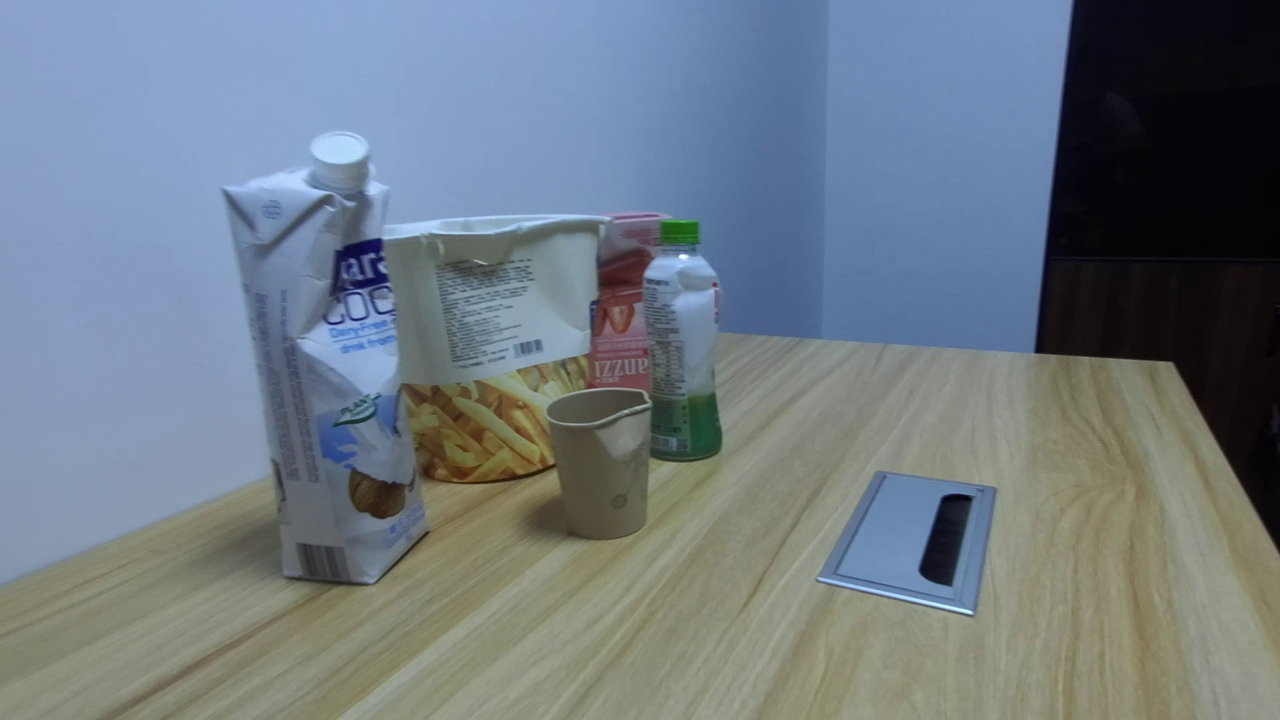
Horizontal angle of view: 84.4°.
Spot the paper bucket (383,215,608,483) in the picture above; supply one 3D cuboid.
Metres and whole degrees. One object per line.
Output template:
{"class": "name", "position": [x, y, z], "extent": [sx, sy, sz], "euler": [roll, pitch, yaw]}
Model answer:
{"class": "paper bucket", "position": [-0.129, -0.017, 0.586], "extent": [0.145, 0.197, 0.203], "euler": [8, 18, 40]}

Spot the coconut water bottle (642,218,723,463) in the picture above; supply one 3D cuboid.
{"class": "coconut water bottle", "position": [0.035, -0.016, 0.566], "extent": [0.069, 0.186, 0.069], "euler": [-1, 11, 0]}

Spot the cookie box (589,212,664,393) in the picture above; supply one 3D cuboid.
{"class": "cookie box", "position": [-0.017, -0.051, 0.713], "extent": [0.105, 0.187, 0.048], "euler": [-5, 14, -8]}

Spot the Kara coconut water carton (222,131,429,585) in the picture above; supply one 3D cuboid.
{"class": "Kara coconut water carton", "position": [-0.181, 0.002, 0.415], "extent": [0.078, 0.255, 0.083], "euler": [6, 17, 24]}

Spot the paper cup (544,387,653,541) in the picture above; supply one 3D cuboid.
{"class": "paper cup", "position": [-0.025, 0.067, 0.462], "extent": [0.069, 0.081, 0.073], "euler": [-5, 15, -5]}
